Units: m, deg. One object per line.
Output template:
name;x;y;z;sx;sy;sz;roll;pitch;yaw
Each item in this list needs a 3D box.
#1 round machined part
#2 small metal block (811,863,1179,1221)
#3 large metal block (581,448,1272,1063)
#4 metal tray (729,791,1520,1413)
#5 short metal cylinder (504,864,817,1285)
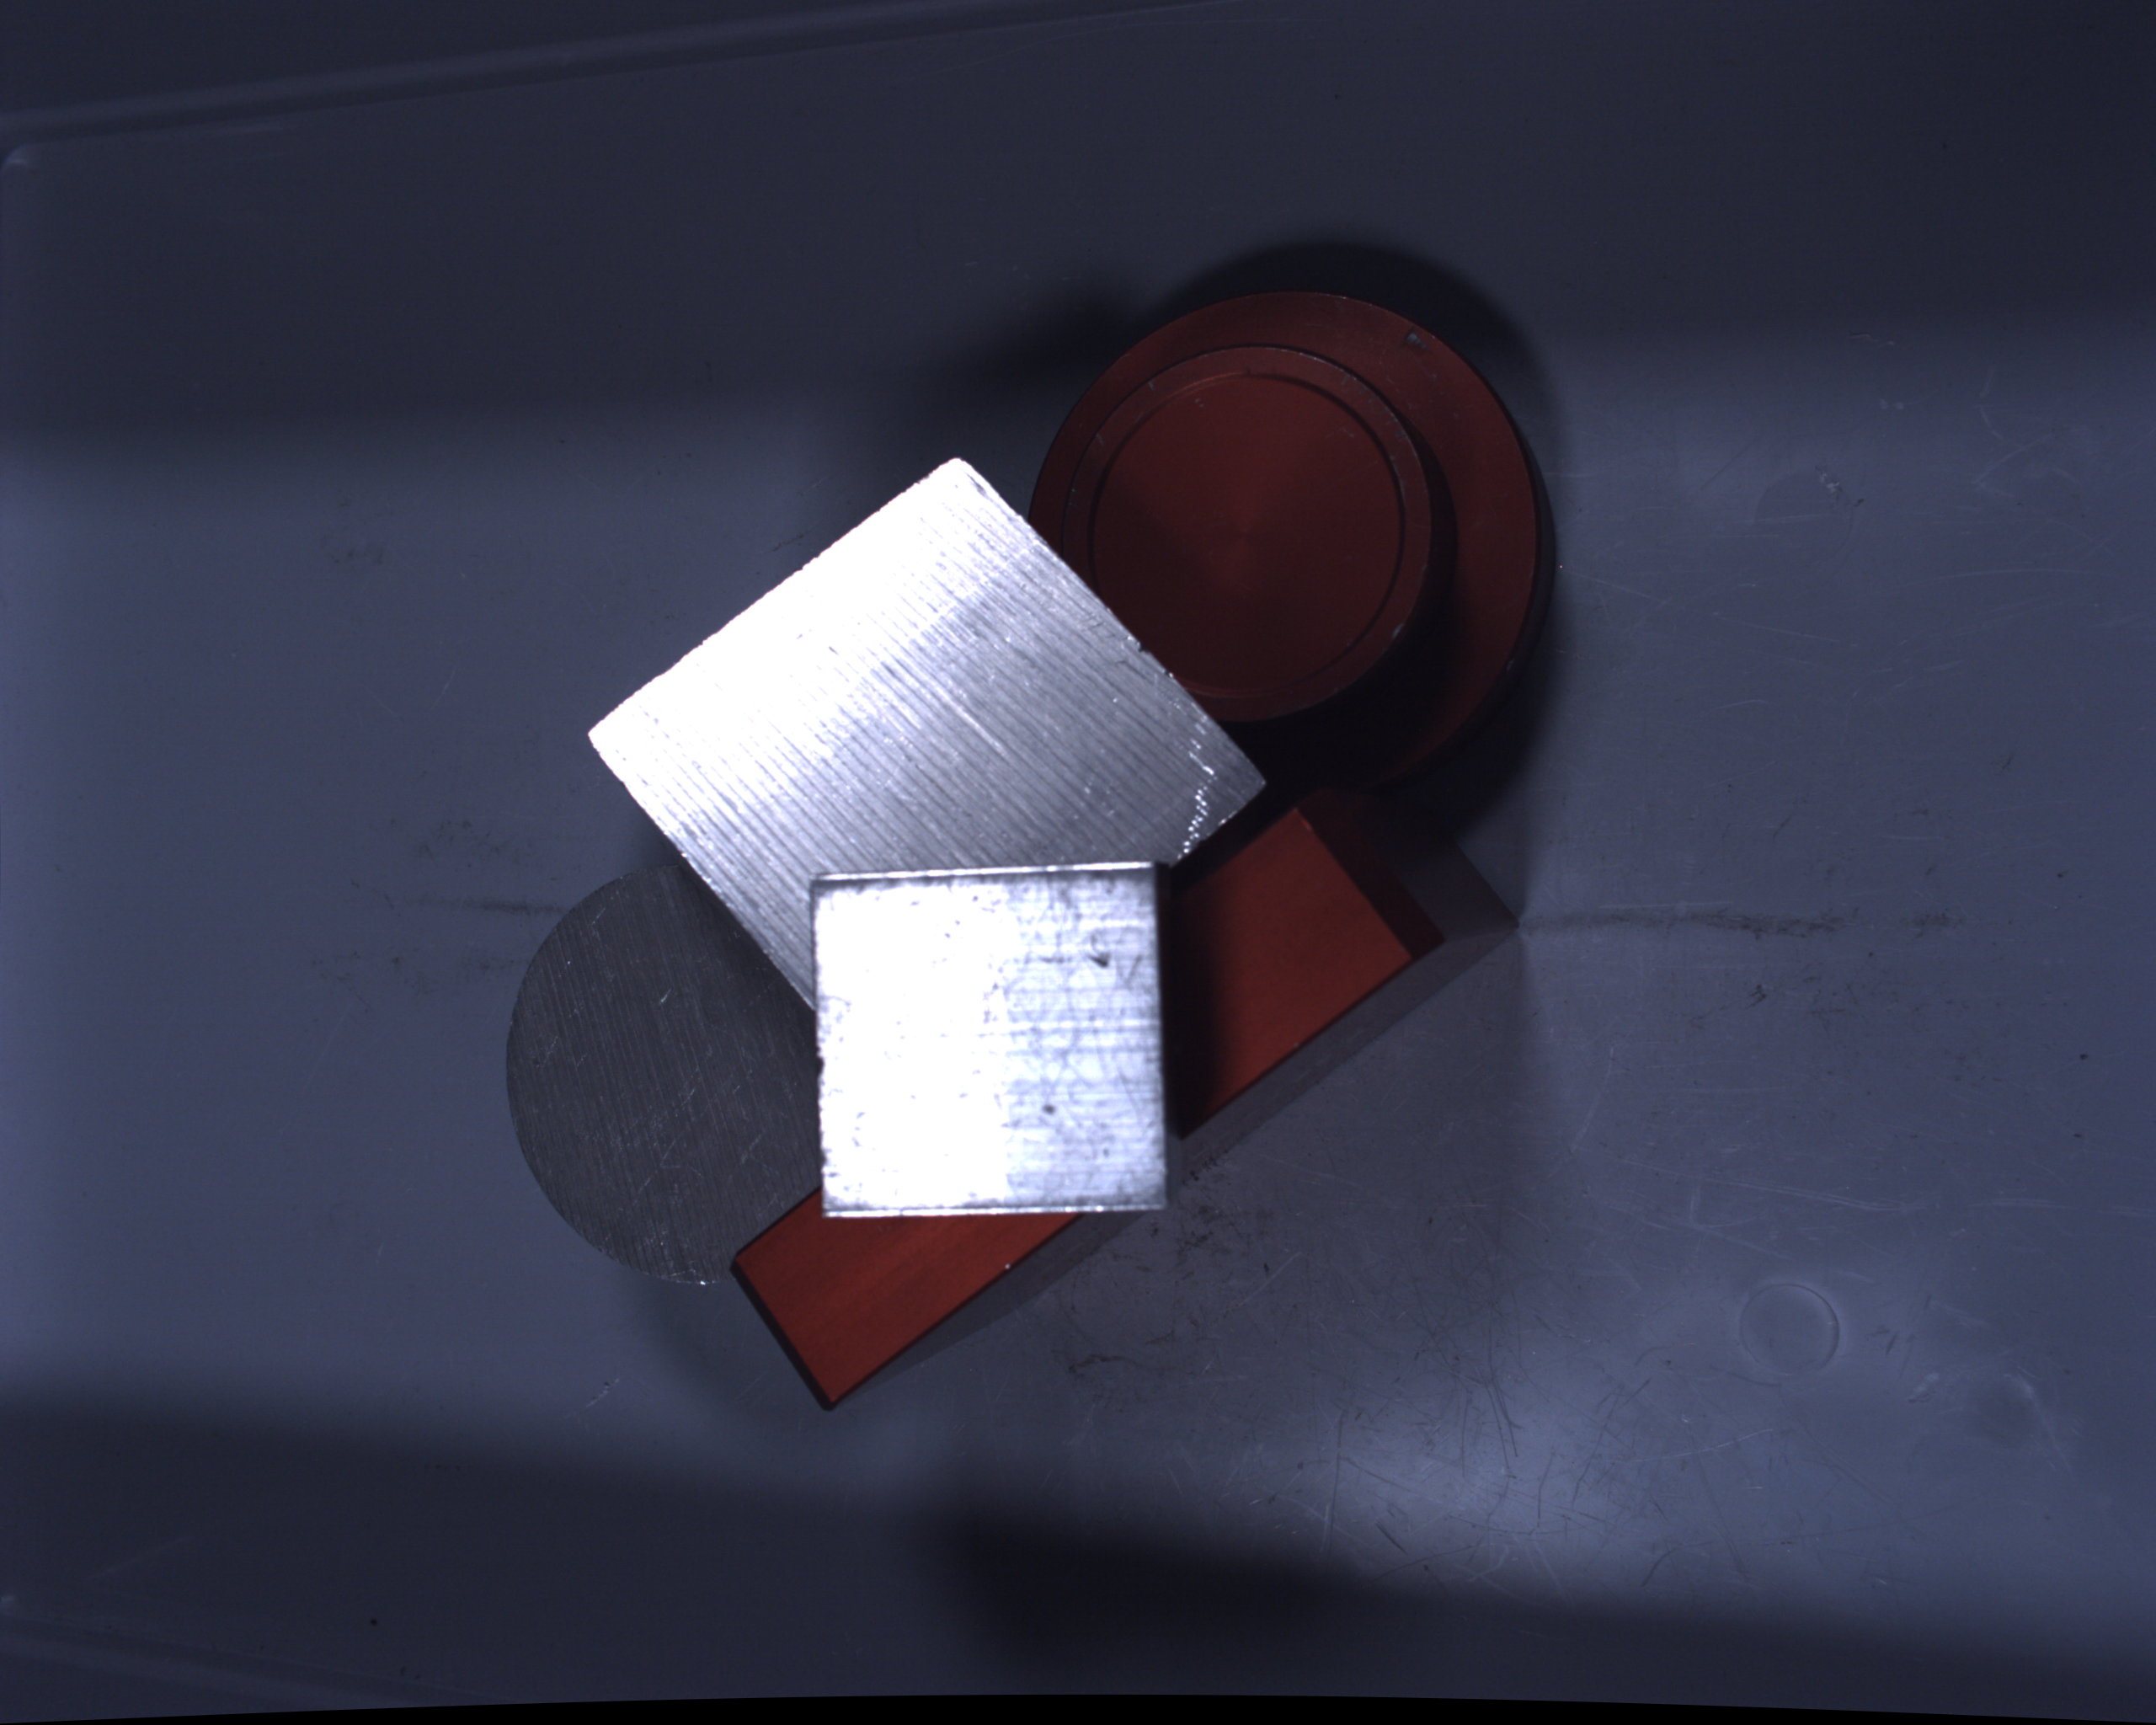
round machined part;0.036;-0.058;0.386;0.098;0.042;0.097;0;90;19
small metal block;-0.011;0.026;0.311;0.050;0.025;0.050;-2;89;6
large metal block;-0.025;-0.010;0.365;0.080;0.050;0.080;-39;76;-10
metal tray;0.012;0.040;0.369;0.130;0.090;0.030;-39;77;15
short metal cylinder;-0.066;0.040;0.417;0.080;0.050;0.079;0;90;19
